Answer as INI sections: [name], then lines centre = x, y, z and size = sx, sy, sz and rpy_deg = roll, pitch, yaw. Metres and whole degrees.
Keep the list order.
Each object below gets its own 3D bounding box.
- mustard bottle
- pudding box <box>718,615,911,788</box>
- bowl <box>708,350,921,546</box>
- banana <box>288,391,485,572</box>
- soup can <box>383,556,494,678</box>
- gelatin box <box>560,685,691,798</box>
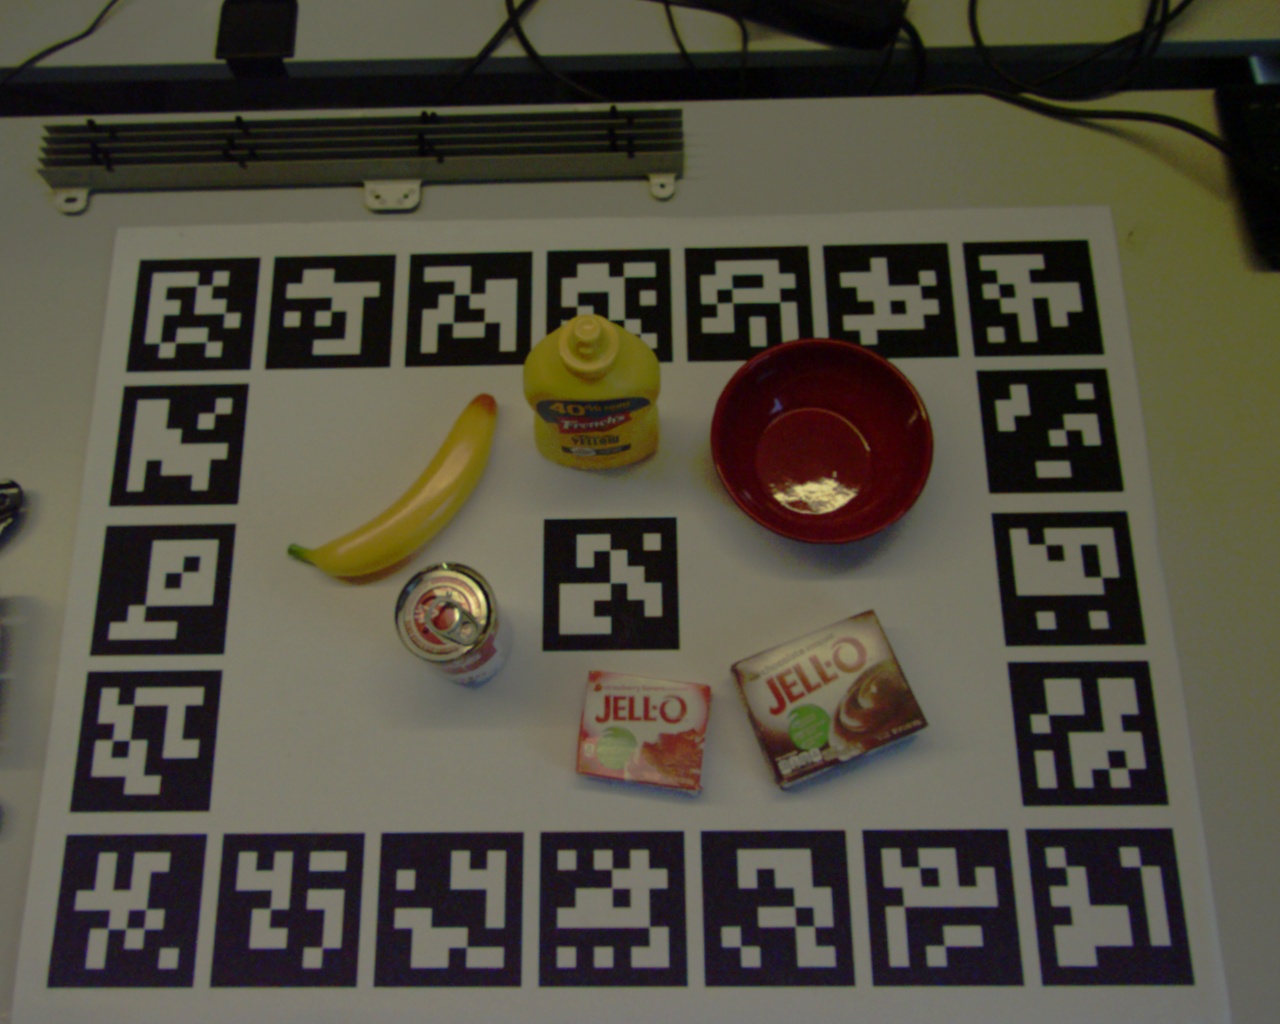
[mustard bottle]
centre = -0.038, -0.082, 0.823
size = 0.096, 0.191, 0.058
rpy_deg = 0, 70, 0
[pudding box]
centre = 0.126, 0.140, 0.840
size = 0.113, 0.038, 0.090
rpy_deg = -23, 79, -5
[bowl]
centre = 0.133, -0.043, 0.891
size = 0.162, 0.055, 0.162
rpy_deg = -1, 72, 3
[banana]
centre = -0.184, -0.017, 0.899
size = 0.075, 0.038, 0.197
rpy_deg = 39, 77, 22
[soup can]
centre = -0.143, 0.078, 0.825
size = 0.068, 0.102, 0.068
rpy_deg = 0, 71, -1
[gelatin box]
centre = -0.010, 0.168, 0.840
size = 0.089, 0.030, 0.073
rpy_deg = 6, 76, 4
